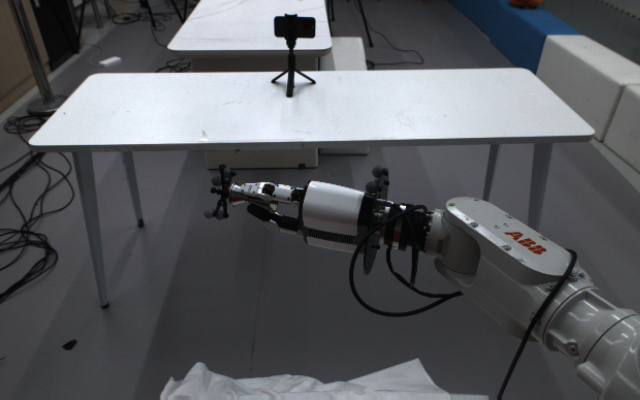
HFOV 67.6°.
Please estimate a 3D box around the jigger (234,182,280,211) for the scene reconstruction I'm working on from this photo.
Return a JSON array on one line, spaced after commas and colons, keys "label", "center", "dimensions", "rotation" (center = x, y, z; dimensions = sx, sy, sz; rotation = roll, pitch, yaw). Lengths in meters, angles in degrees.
[{"label": "jigger", "center": [-0.098, -0.008, 0.757], "dimensions": [0.071, 0.043, 0.043], "rotation": [7, 35, 13]}]
